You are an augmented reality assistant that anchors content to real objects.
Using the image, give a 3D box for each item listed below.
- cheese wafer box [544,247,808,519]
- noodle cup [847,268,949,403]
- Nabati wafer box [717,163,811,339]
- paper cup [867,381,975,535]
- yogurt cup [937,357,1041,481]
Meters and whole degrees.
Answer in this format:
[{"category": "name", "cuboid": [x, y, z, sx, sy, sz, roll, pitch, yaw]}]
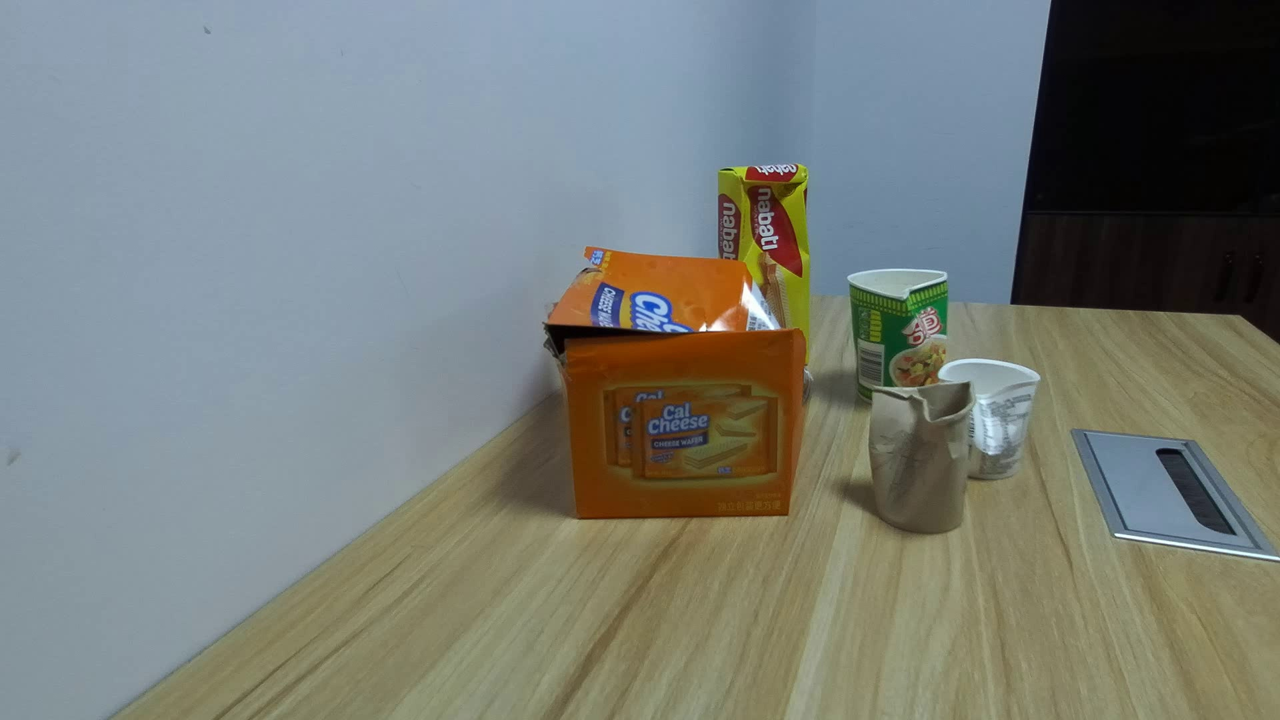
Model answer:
[{"category": "cheese wafer box", "cuboid": [0.038, 0.001, 0.542, 0.191, 0.145, 0.219, -2, 20, 2]}, {"category": "noodle cup", "cuboid": [0.230, -0.020, 0.631, 0.094, 0.109, 0.086, -12, 22, -25]}, {"category": "Nabati wafer box", "cuboid": [0.124, -0.087, 0.695, 0.097, 0.203, 0.042, -10, 17, -27]}, {"category": "paper cup", "cuboid": [0.177, 0.060, 0.450, 0.058, 0.083, 0.066, 4, 19, 21]}, {"category": "yogurt cup", "cuboid": [0.248, 0.041, 0.512, 0.067, 0.070, 0.067, -2, 21, 1]}]
